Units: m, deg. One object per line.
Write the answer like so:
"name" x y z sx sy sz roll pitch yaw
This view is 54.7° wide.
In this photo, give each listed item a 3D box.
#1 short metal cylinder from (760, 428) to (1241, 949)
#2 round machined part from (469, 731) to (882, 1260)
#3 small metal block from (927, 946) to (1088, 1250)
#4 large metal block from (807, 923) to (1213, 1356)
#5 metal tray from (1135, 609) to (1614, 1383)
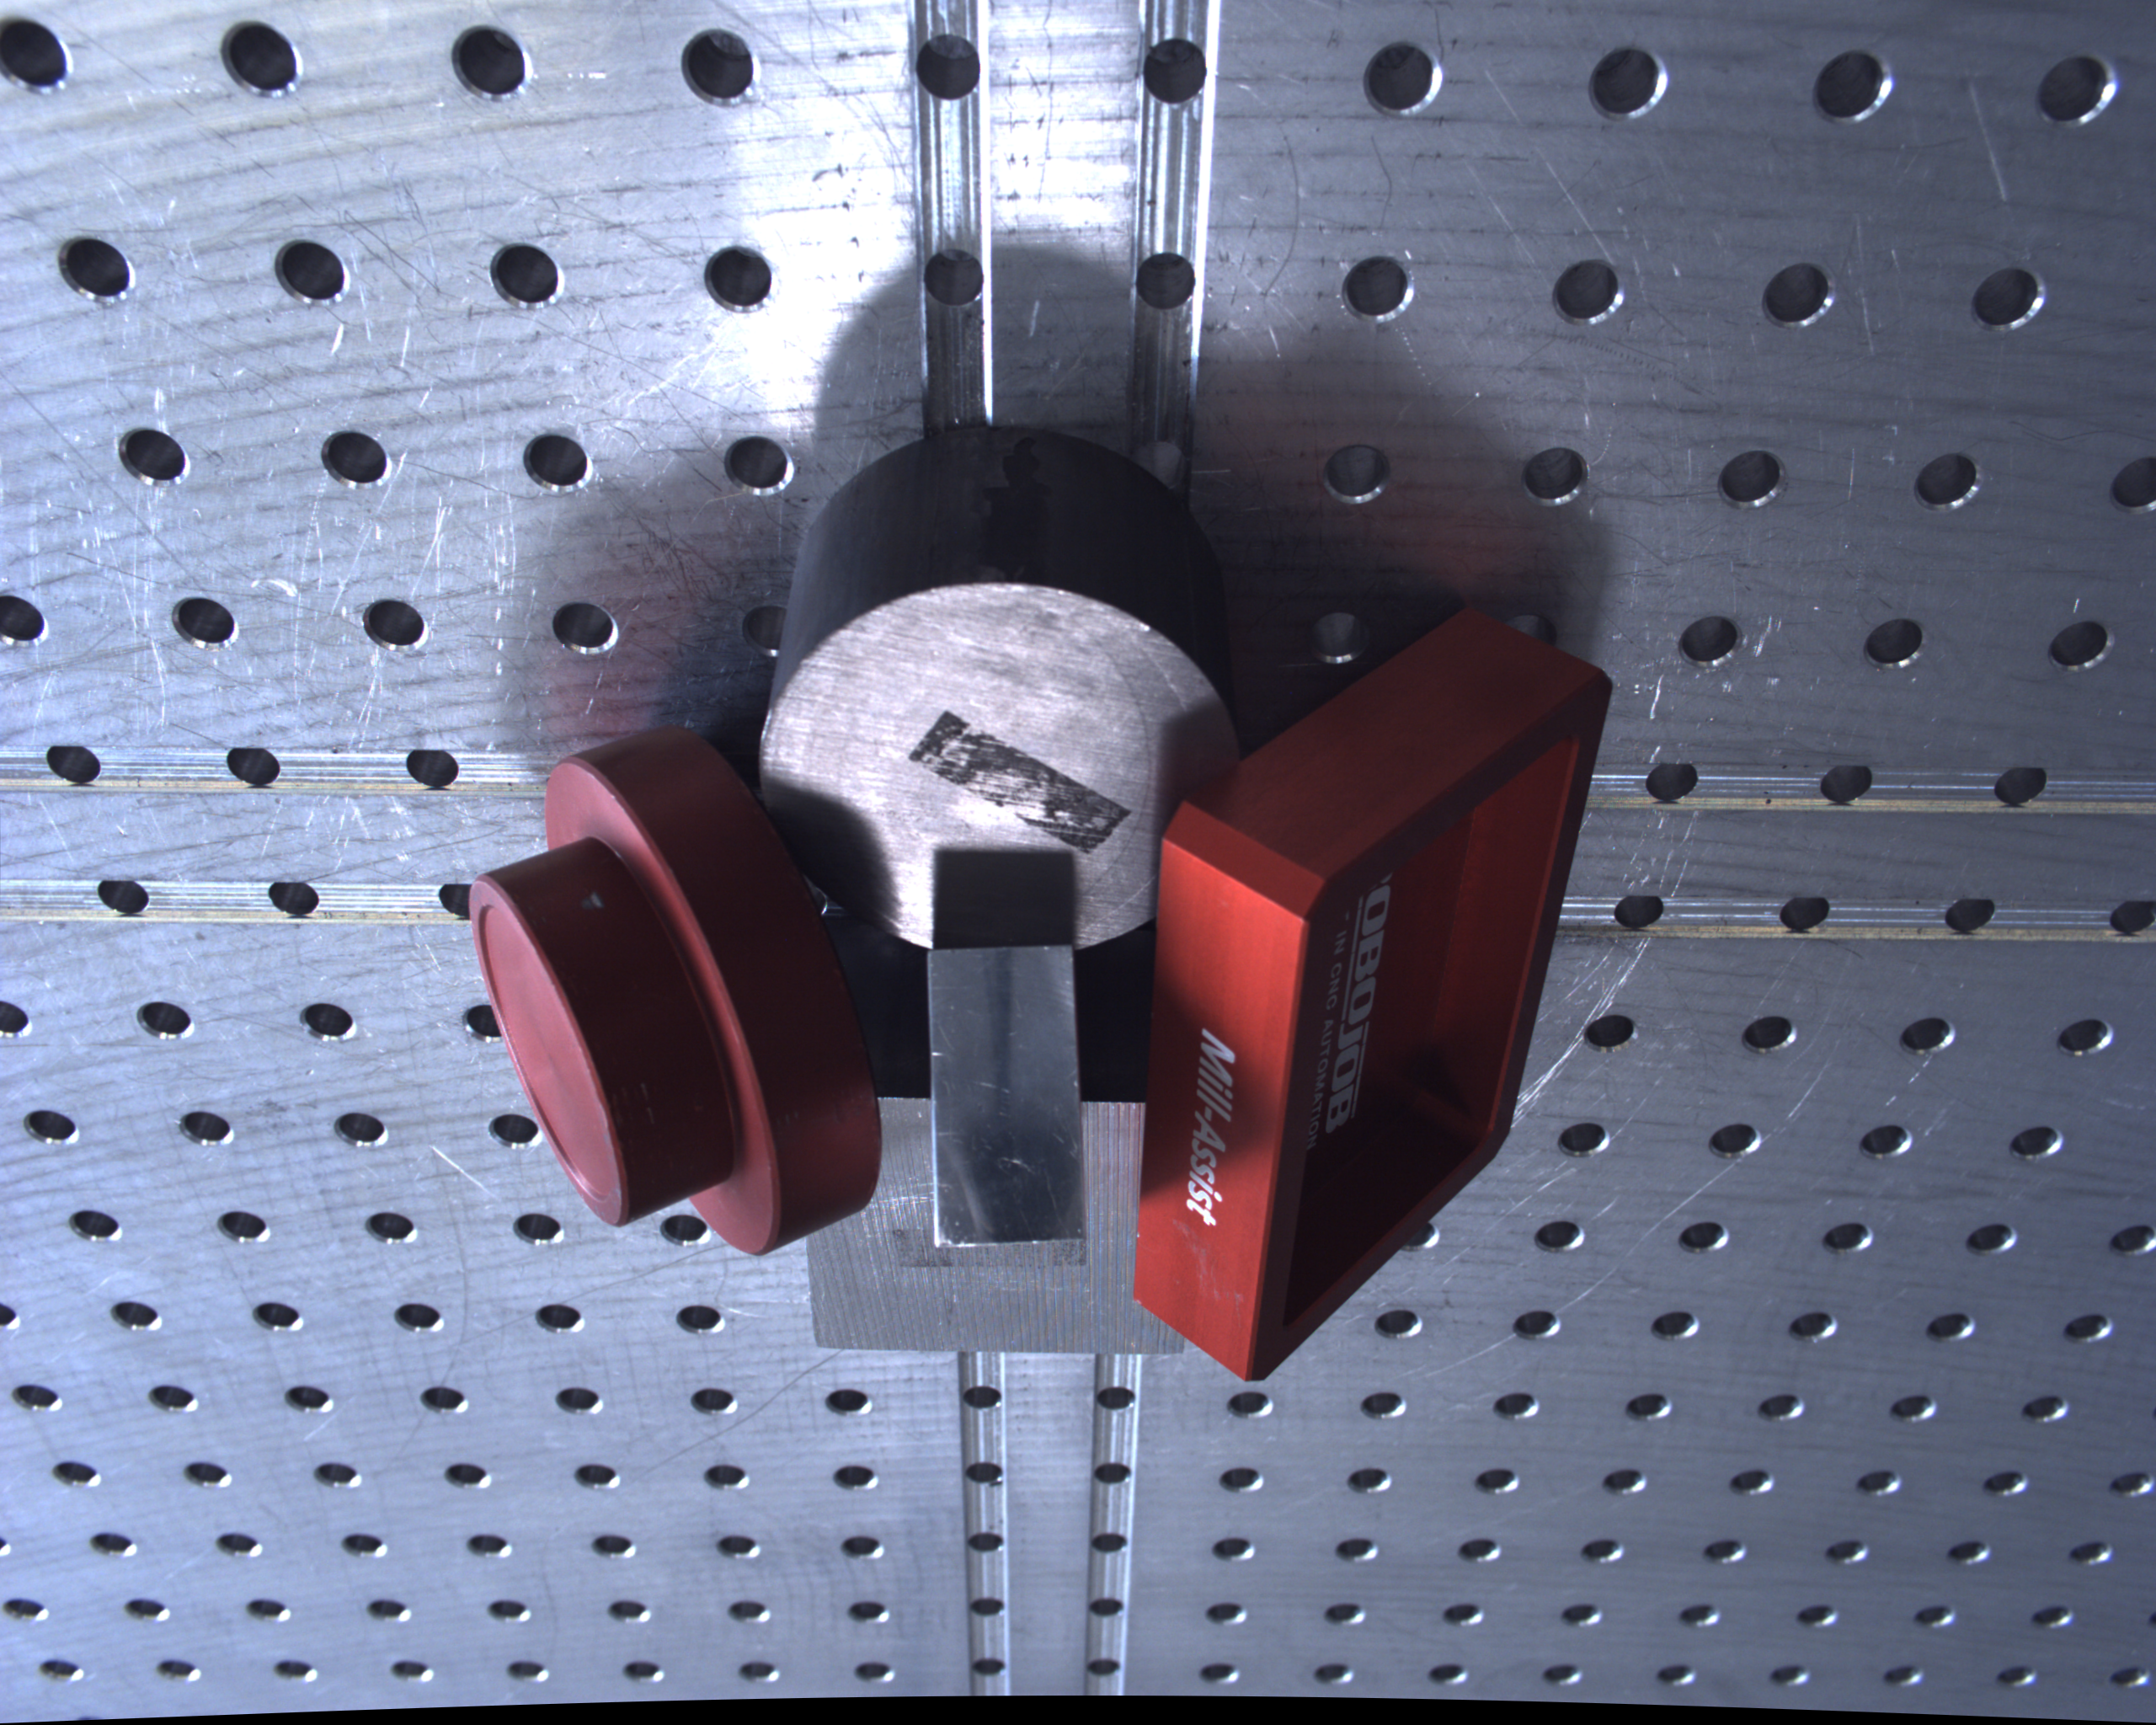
"short metal cylinder" -0.013 -0.029 0.369 0.081 0.050 0.079 0 130 0
"round machined part" -0.078 0.028 0.381 0.042 0.098 0.097 -22 136 -26
"small metal block" -0.013 0.043 0.376 0.025 0.050 0.050 -2 172 -2
"large metal block" -0.015 0.060 0.446 0.081 0.050 0.079 2 130 -2
"metal tray" 0.054 0.027 0.394 0.030 0.091 0.129 32 139 31
